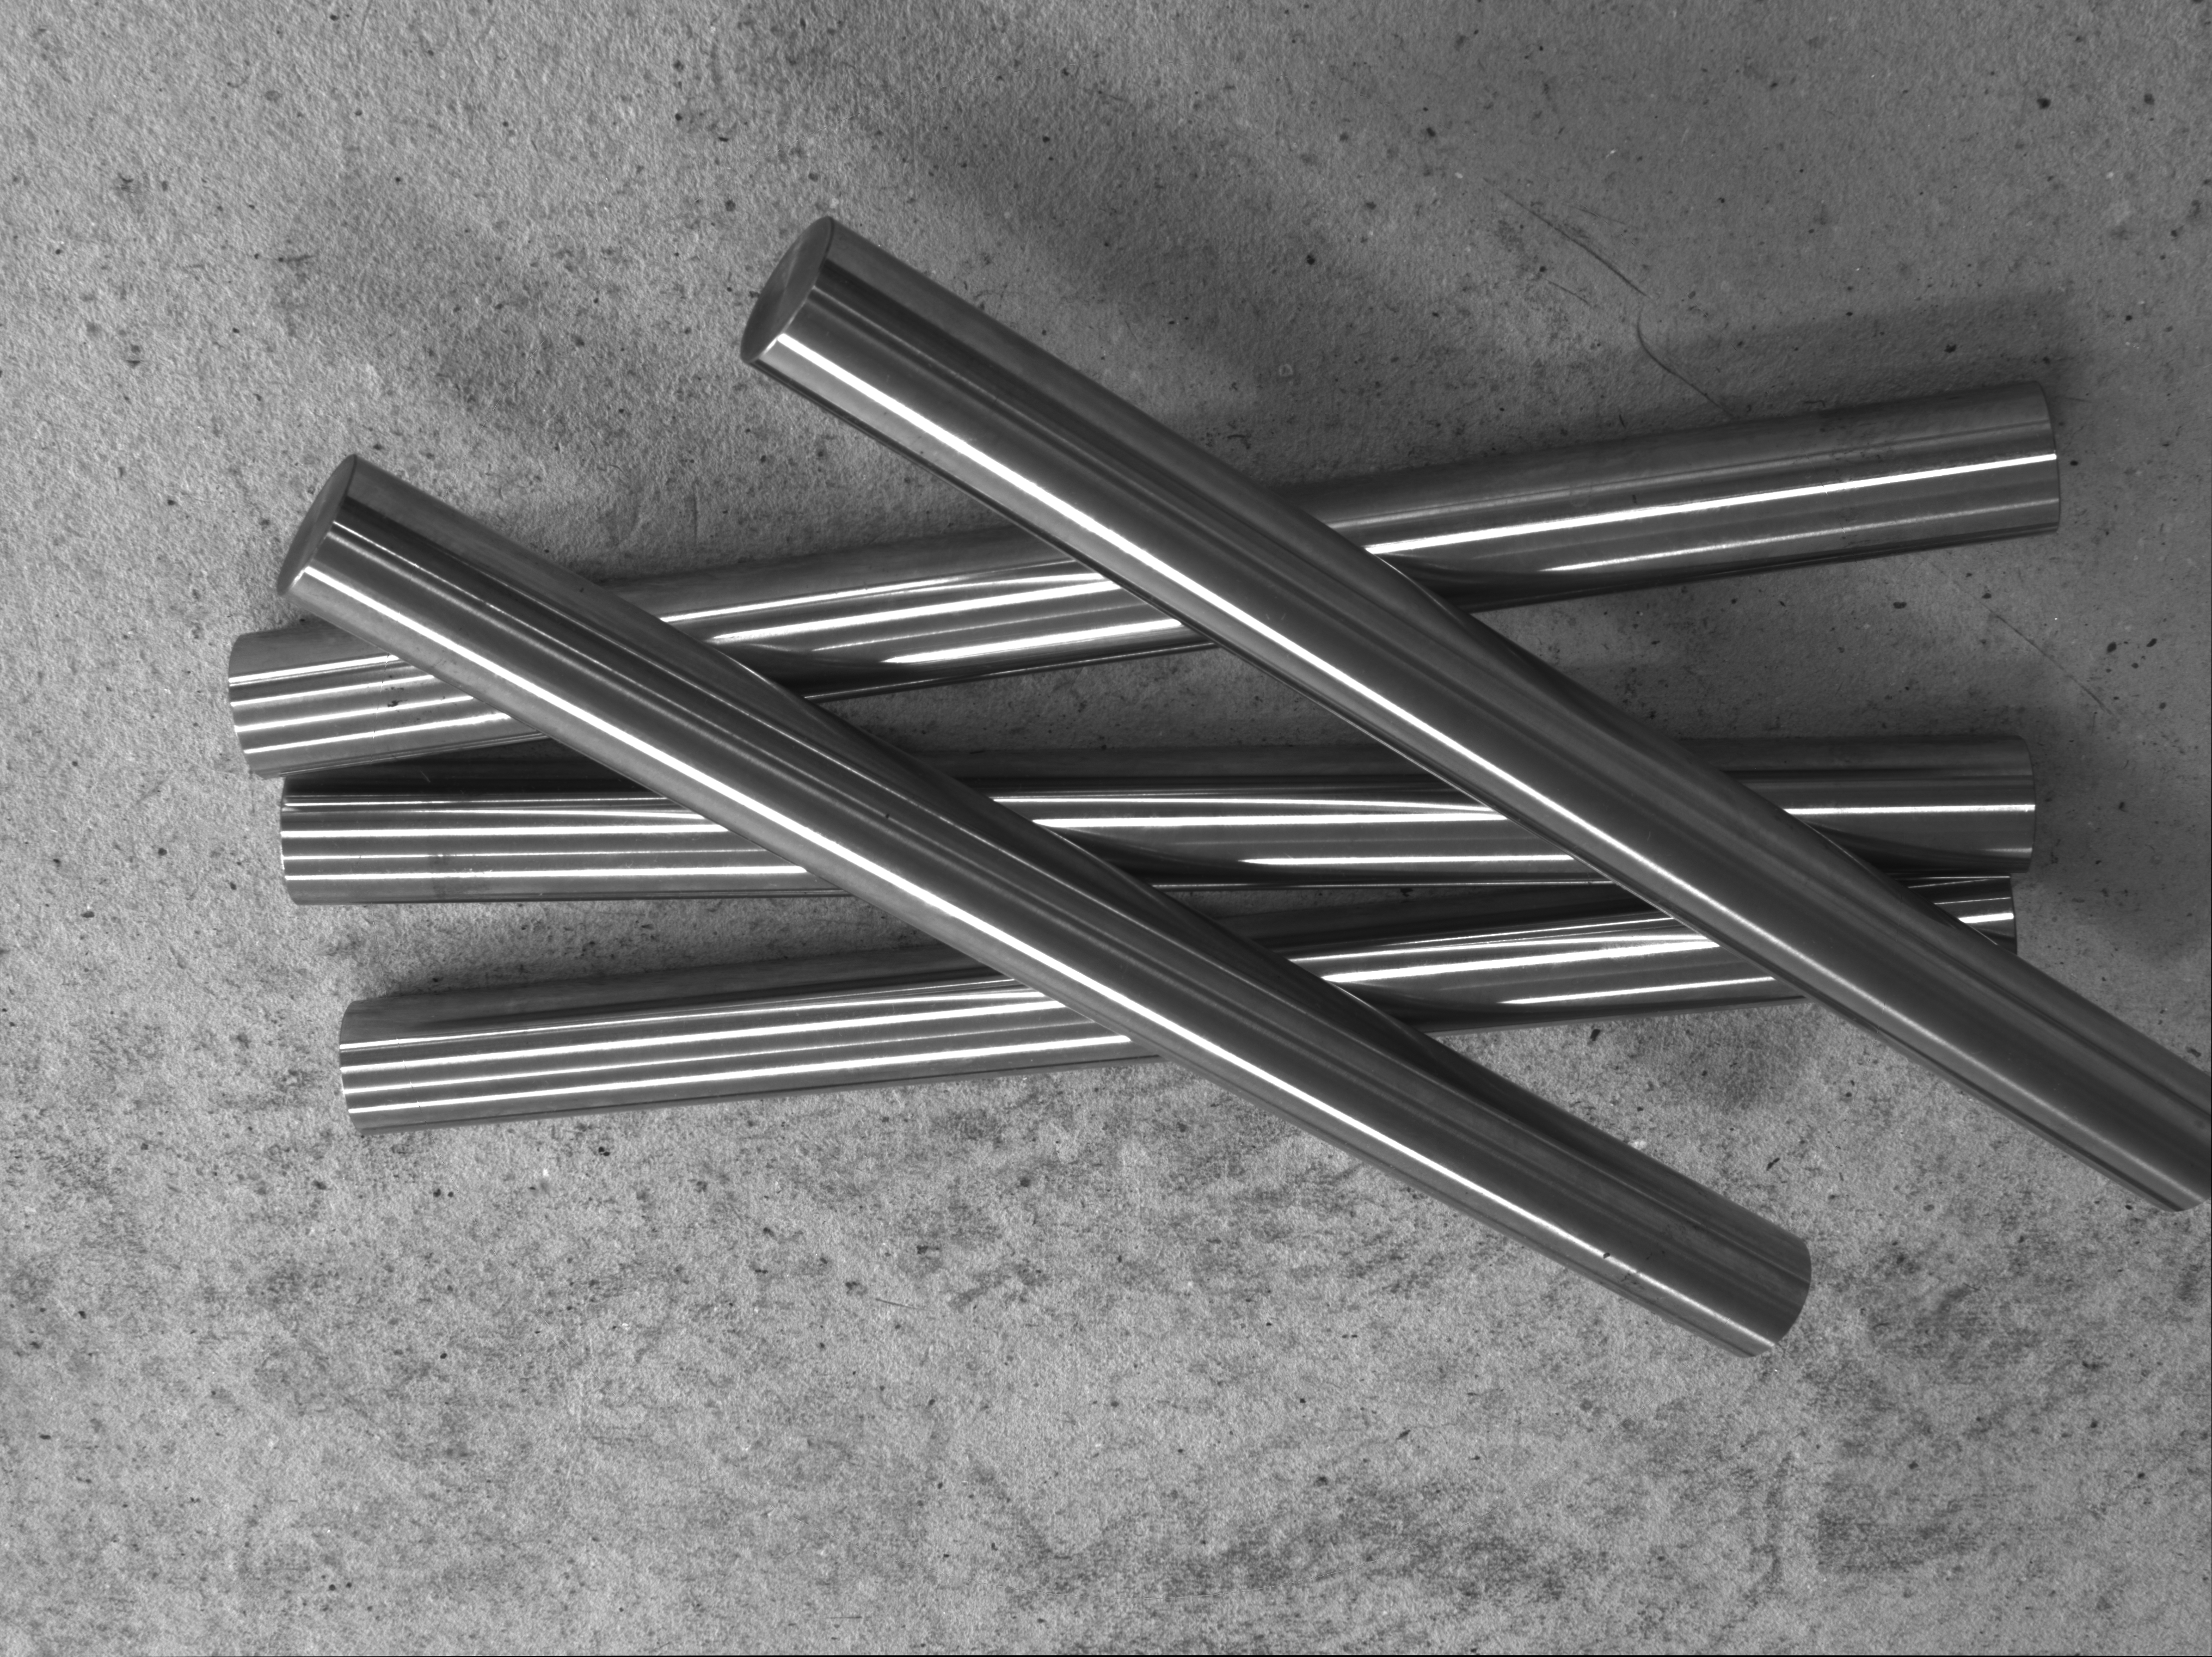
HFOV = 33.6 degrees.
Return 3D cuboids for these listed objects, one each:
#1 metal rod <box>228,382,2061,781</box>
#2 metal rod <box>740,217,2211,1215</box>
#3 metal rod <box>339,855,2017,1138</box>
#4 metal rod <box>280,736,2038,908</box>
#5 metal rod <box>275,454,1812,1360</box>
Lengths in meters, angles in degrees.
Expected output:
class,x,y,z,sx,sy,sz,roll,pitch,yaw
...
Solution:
class,x,y,z,sx,sy,sz,roll,pitch,yaw
metal rod,0.004,-0.040,0.606,0.300,0.025,0.025,-8,130,6
metal rod,0.074,-0.011,0.598,0.301,0.025,0.025,29,124,-23
metal rod,0.011,0.030,0.664,0.300,0.025,0.025,-6,130,5
metal rod,0.009,-0.001,0.638,0.300,0.025,0.025,-1,130,1
metal rod,0.000,0.020,0.623,0.301,0.025,0.025,29,124,-22
